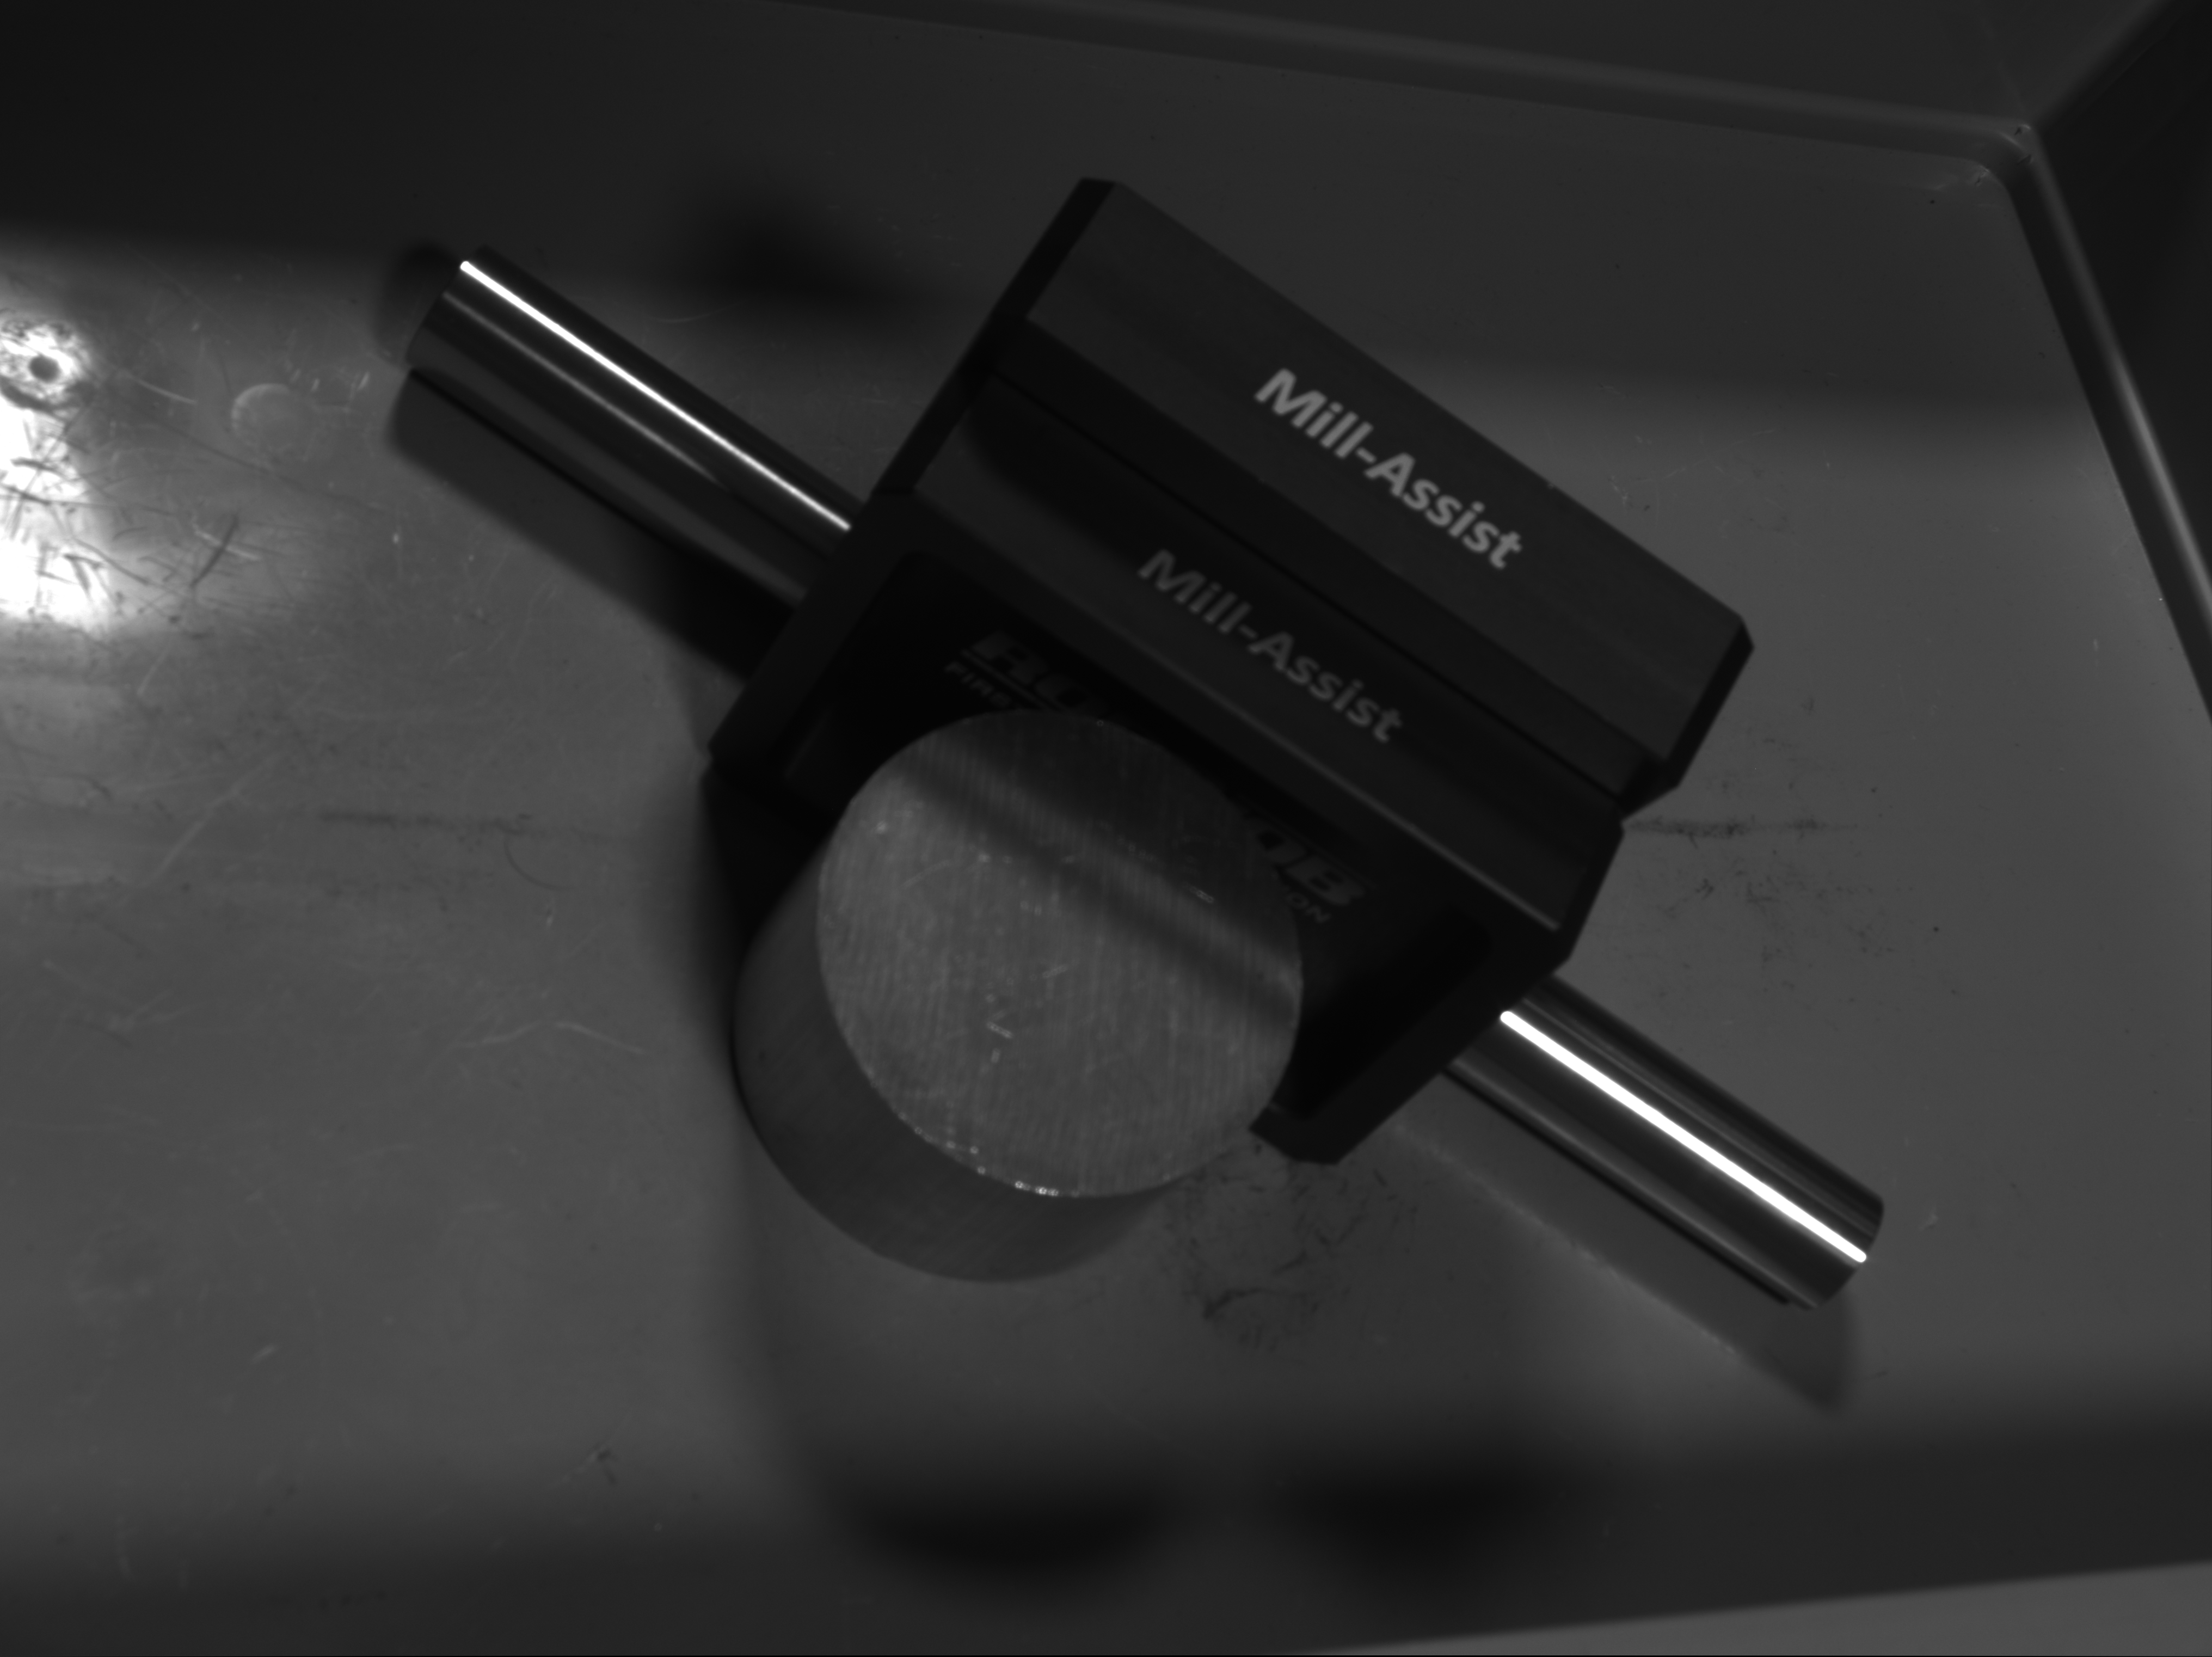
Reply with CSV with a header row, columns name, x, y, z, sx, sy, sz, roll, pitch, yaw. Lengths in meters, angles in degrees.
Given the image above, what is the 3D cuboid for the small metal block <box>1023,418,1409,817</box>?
name,x,y,z,sx,sy,sz,roll,pitch,yaw
small metal block,0.021,-0.039,0.673,0.050,0.025,0.050,35,51,-5

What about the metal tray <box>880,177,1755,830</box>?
name,x,y,z,sx,sy,sz,roll,pitch,yaw
metal tray,0.032,-0.044,0.608,0.130,0.090,0.030,34,68,-6

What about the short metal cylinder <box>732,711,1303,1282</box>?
name,x,y,z,sx,sy,sz,roll,pitch,yaw
short metal cylinder,-0.015,0.028,0.590,0.080,0.050,0.080,8,66,-19

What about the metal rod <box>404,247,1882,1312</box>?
name,x,y,z,sx,sy,sz,roll,pitch,yaw
metal rod,0.009,-0.007,0.649,0.300,0.025,0.025,34,51,-6

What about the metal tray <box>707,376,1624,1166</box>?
name,x,y,z,sx,sy,sz,roll,pitch,yaw
metal tray,0.008,-0.006,0.605,0.130,0.090,0.030,34,51,-6
